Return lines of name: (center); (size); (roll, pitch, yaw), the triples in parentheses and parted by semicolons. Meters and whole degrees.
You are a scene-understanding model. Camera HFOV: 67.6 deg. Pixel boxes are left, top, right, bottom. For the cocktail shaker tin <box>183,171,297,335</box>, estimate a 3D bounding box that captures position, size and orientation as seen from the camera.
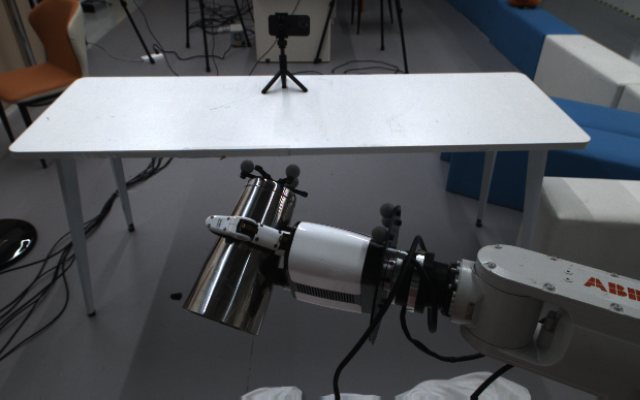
cocktail shaker tin: (-0.086, 0.064, 0.575); (0.093, 0.093, 0.170); (13, 70, 16)
